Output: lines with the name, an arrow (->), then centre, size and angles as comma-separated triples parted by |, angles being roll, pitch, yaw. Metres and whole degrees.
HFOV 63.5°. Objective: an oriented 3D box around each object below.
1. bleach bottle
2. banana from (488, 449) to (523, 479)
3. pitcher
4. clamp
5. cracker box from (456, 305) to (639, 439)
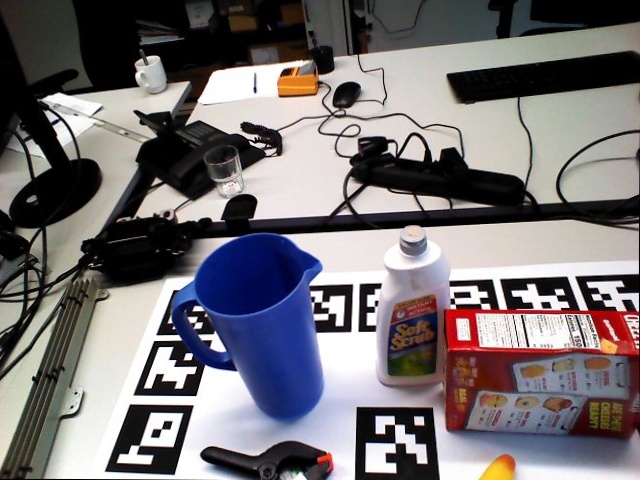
bleach bottle -> 0.118, 0.092, 0.660 | 0.103, 0.251, 0.067 | -4, 39, 10
banana -> 0.161, 0.302, 0.577 | 0.197, 0.039, 0.074 | -26, 41, -16
pitcher -> -0.074, 0.115, 0.651 | 0.189, 0.243, 0.133 | -14, 39, -7
clamp -> -0.056, 0.293, 0.629 | 0.165, 0.037, 0.121 | -13, 38, -4
cracker box -> 0.268, 0.153, 0.595 | 0.214, 0.164, 0.071 | -3, 37, 12
